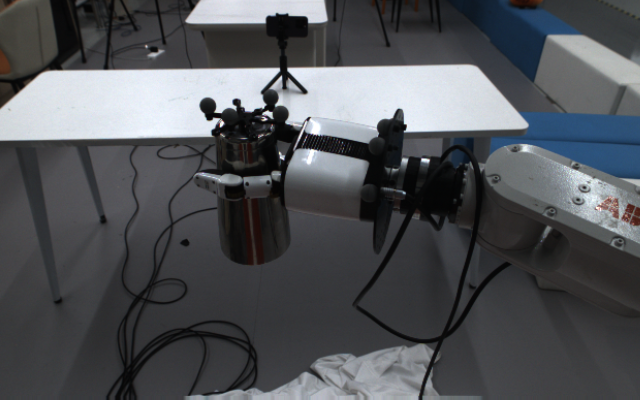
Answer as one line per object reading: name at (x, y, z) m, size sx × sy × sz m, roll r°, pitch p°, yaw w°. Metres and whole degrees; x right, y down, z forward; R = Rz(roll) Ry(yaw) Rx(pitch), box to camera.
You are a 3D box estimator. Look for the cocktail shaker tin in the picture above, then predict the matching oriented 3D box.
cocktail shaker tin at (-0.079, -0.017, 0.580) m, size 0.093 × 0.170 × 0.093 m, roll 1°, pitch 39°, yaw -1°
